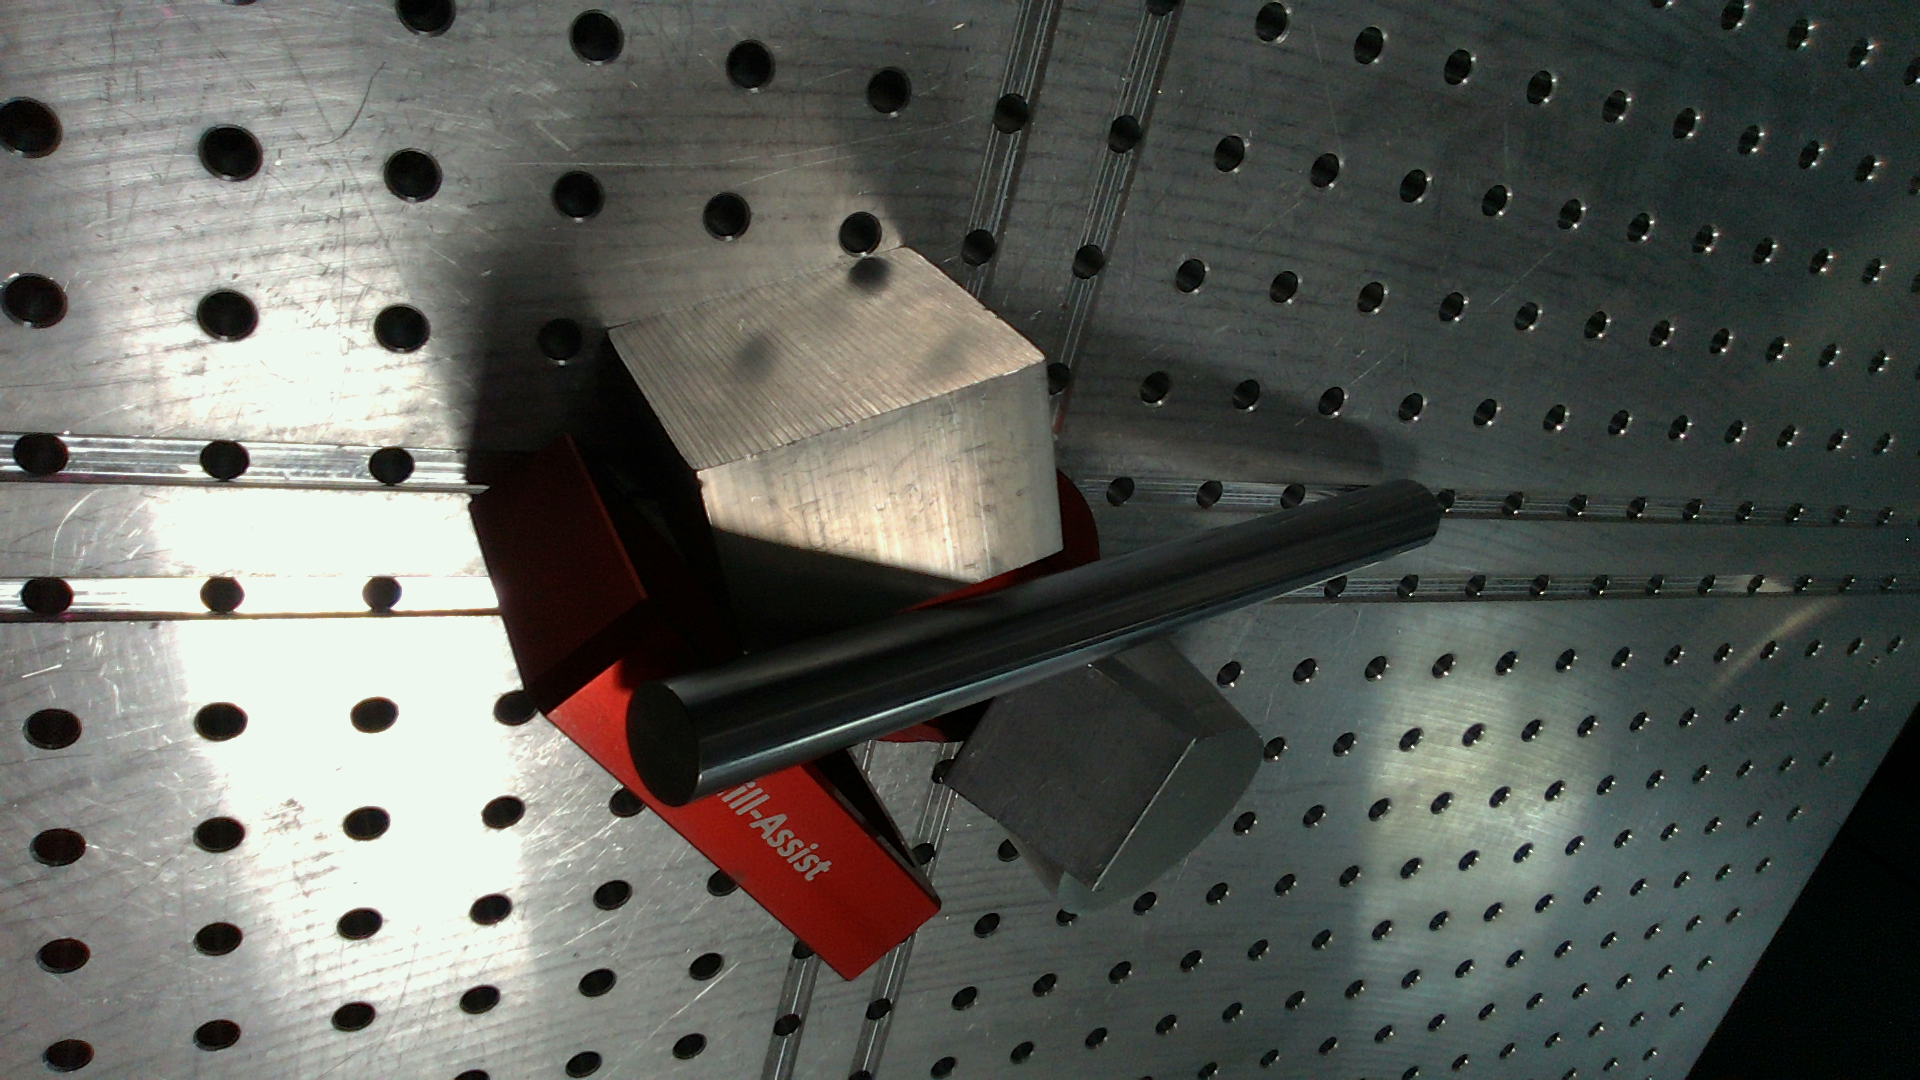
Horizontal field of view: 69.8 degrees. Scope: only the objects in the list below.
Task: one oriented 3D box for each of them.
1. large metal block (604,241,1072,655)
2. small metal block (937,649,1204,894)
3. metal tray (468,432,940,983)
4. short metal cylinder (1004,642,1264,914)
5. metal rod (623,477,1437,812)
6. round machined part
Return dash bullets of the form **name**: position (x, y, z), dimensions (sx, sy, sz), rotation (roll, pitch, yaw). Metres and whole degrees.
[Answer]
- **large metal block**: position (-0.030, -0.024, 0.324), dimensions (0.080, 0.080, 0.050), rotation (-20, 126, -17)
- **small metal block**: position (0.030, 0.057, 0.371), dimensions (0.050, 0.050, 0.025), rotation (-58, 169, 11)
- **metal tray**: position (-0.062, 0.043, 0.342), dimensions (0.030, 0.090, 0.130), rotation (-37, 129, -3)
- **short metal cylinder**: position (0.047, 0.070, 0.429), dimensions (0.080, 0.050, 0.080), rotation (-28, 146, -21)
- **metal rod**: position (0.048, 0.015, 0.366), dimensions (0.301, 0.025, 0.025), rotation (-13, 126, -45)
- **round machined part**: position (-0.004, 0.017, 0.393), dimensions (0.098, 0.042, 0.098), rotation (-14, 124, -21)
